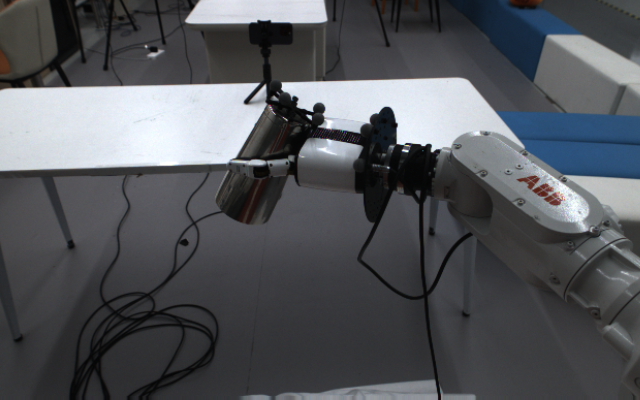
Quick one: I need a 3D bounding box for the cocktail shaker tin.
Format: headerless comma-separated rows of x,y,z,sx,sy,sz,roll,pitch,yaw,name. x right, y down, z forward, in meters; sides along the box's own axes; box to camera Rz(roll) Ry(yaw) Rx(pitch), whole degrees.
-0.080,-0.061,0.715,0.093,0.170,0.093,25,29,-15,cocktail shaker tin
